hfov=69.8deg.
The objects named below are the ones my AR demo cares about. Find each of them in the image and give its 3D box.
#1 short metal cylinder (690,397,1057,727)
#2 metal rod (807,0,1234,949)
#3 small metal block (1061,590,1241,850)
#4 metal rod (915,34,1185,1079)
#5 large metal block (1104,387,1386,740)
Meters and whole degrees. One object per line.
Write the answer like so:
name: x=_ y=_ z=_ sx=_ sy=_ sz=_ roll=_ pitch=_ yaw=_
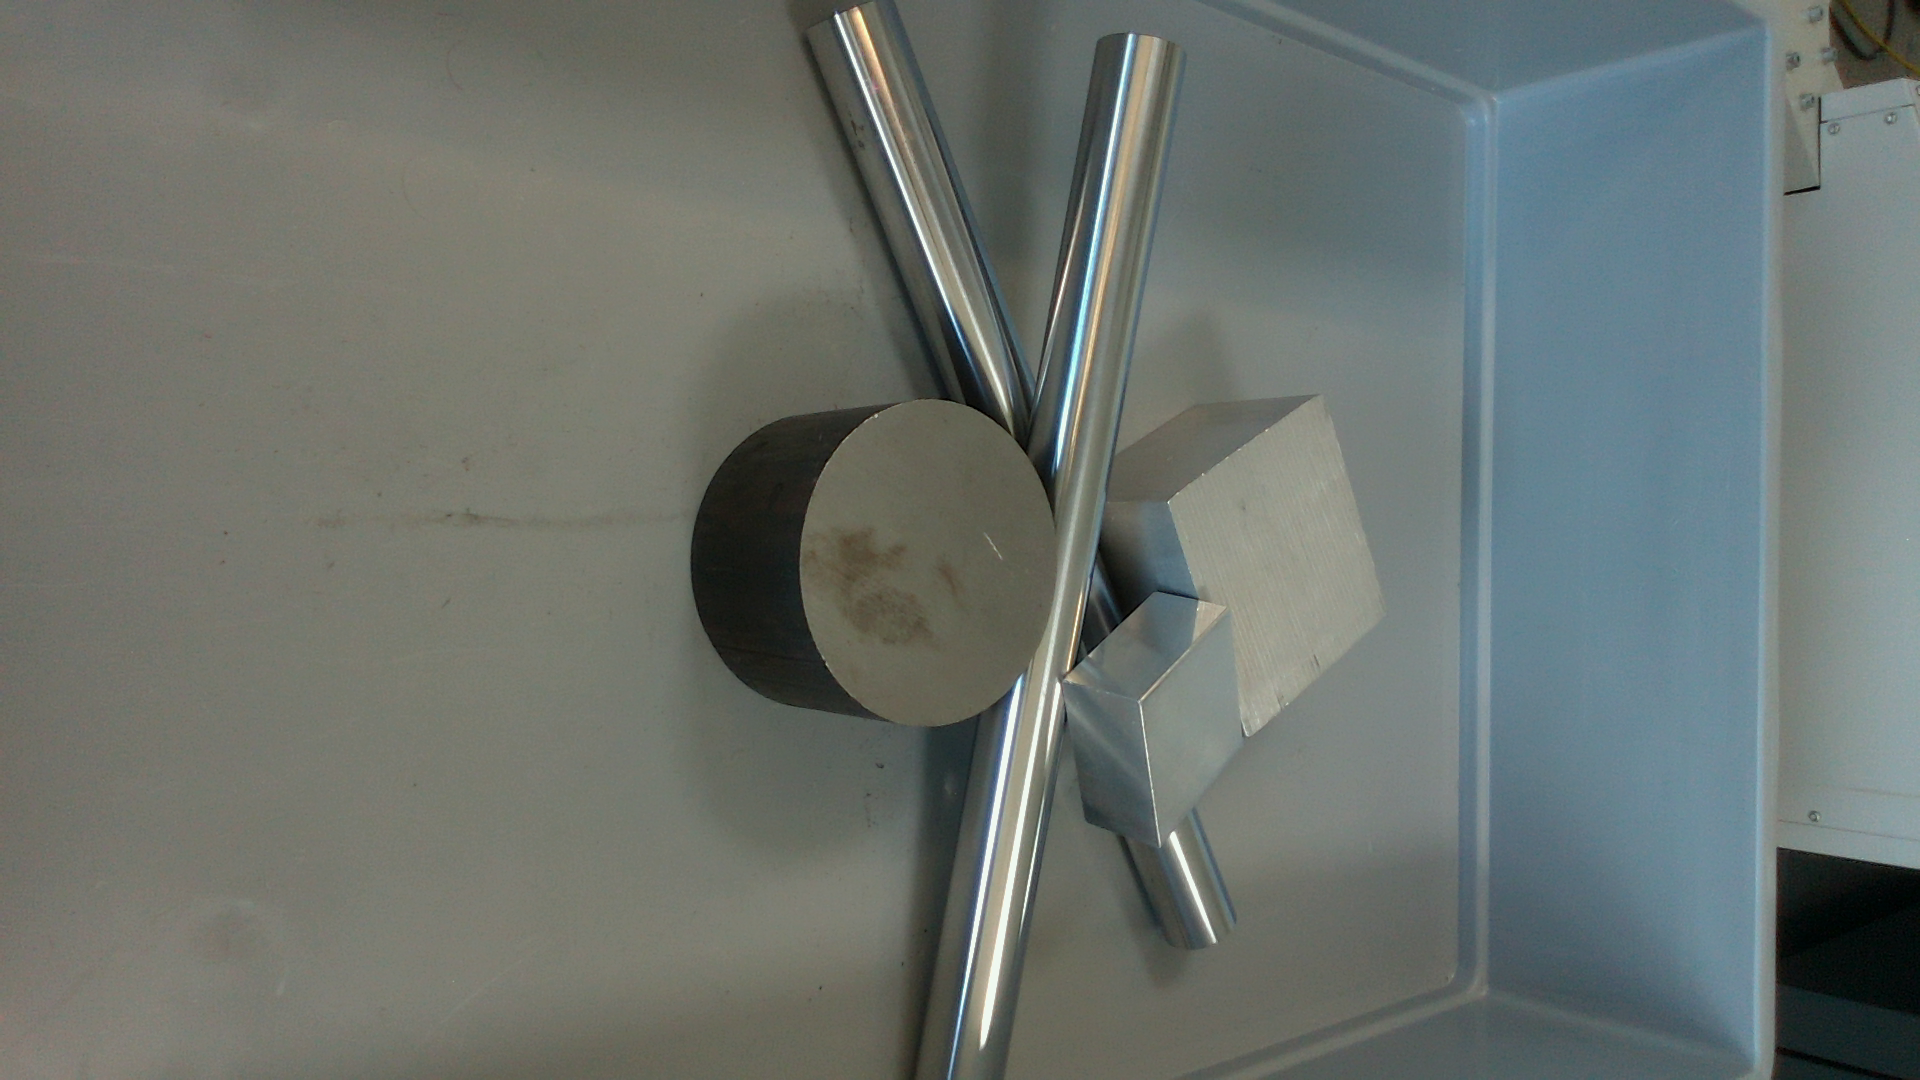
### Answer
short metal cylinder: x=-0.021 y=0.005 z=0.353 sx=0.080 sy=0.050 sz=0.080 roll=0 pitch=90 yaw=-40
metal rod: x=0.025 y=-0.006 z=0.408 sx=0.025 sy=0.025 sz=0.300 roll=-35 pitch=112 yaw=-34
small metal block: x=0.056 y=0.050 z=0.393 sx=0.050 sy=0.025 sz=0.050 roll=-39 pitch=129 yaw=-42
metal rod: x=0.024 y=0.014 z=0.381 sx=0.025 sy=0.025 sz=0.300 roll=8 pitch=93 yaw=-40
large metal block: x=0.084 y=0.006 z=0.440 sx=0.080 sy=0.050 sz=0.080 roll=-34 pitch=111 yaw=-35
